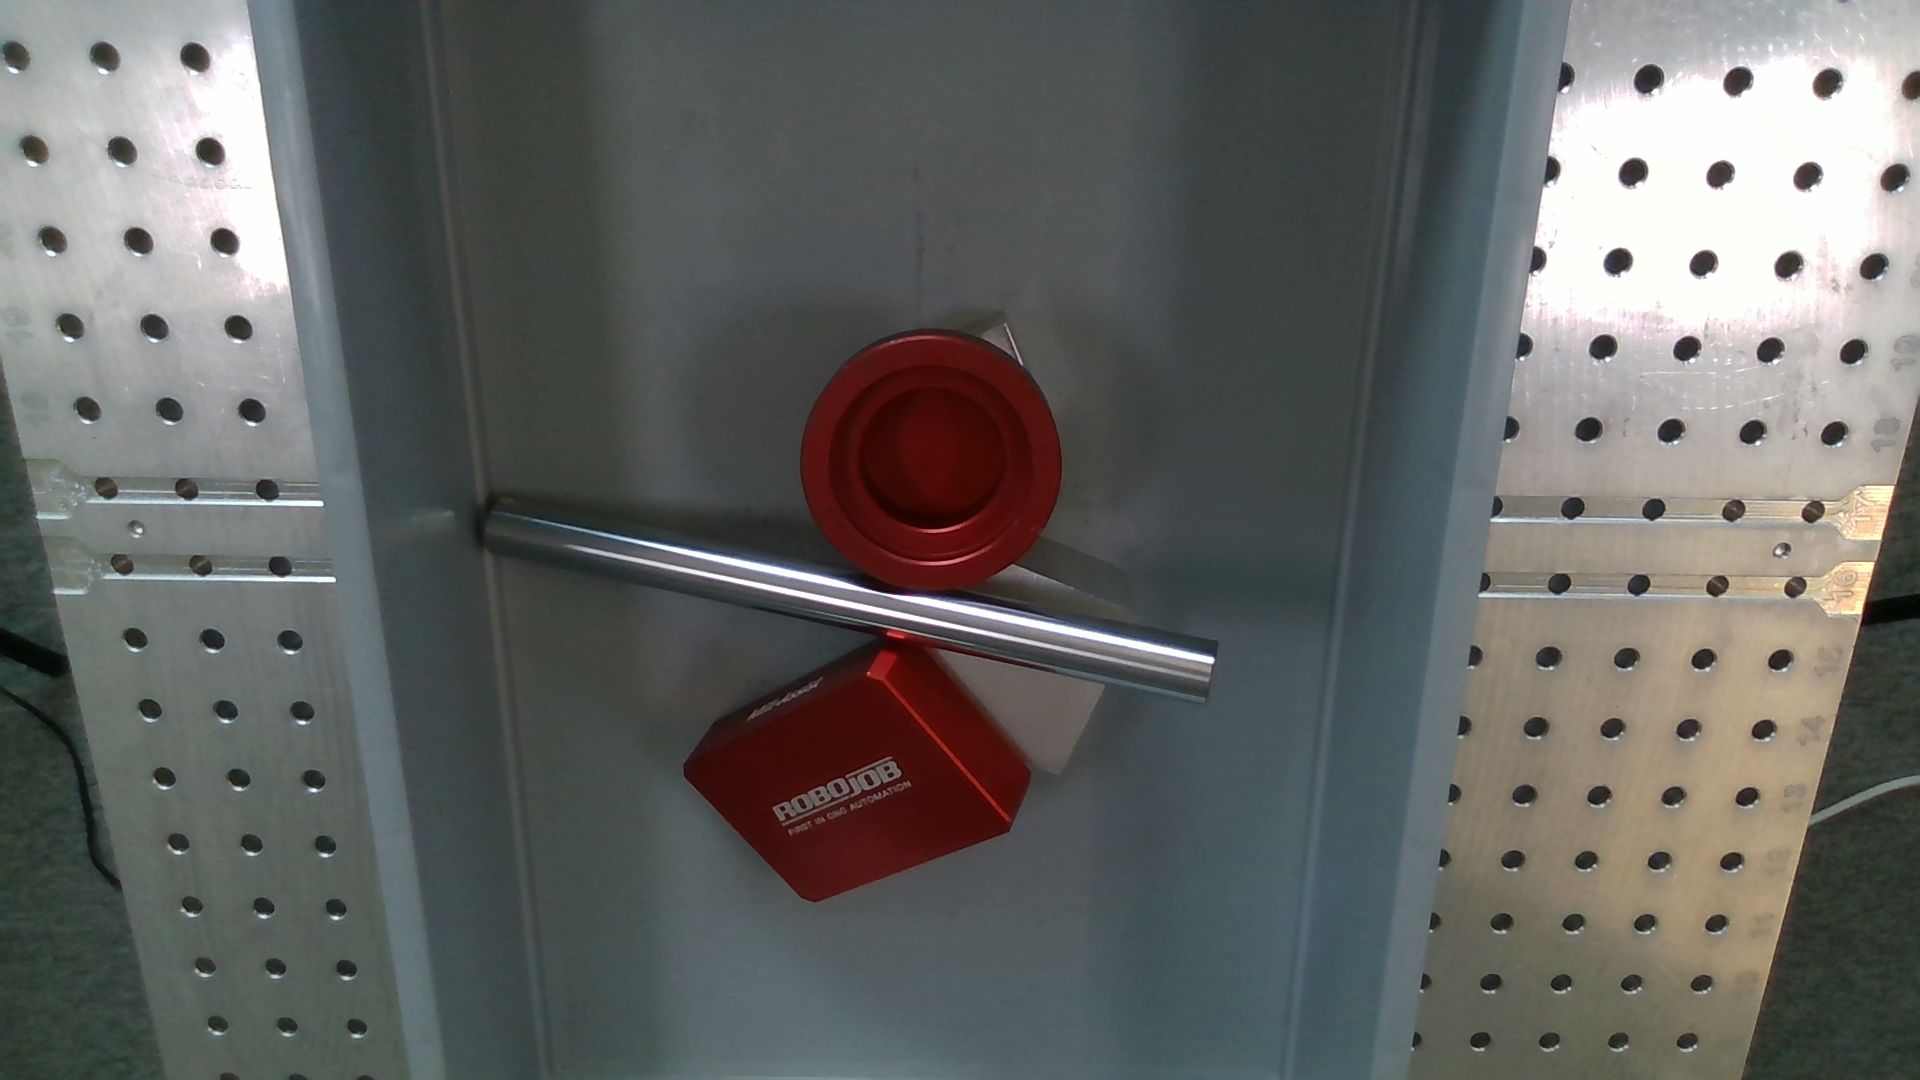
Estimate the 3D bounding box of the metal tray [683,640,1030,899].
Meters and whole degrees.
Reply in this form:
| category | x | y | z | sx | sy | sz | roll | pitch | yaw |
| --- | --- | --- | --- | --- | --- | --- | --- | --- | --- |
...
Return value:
| category | x | y | z | sx | sy | sz | roll | pitch | yaw |
| --- | --- | --- | --- | --- | --- | --- | --- | --- | --- |
| metal tray | -0.046 | 0.100 | 0.591 | 0.130 | 0.030 | 0.090 | -29 | 109 | 36 |

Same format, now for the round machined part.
| category | x | y | z | sx | sy | sz | roll | pitch | yaw |
| --- | --- | --- | --- | --- | --- | --- | --- | --- | --- |
| round machined part | -0.011 | -0.034 | 0.533 | 0.098 | 0.042 | 0.098 | 0 | 107 | 1 |

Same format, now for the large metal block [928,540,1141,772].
| category | x | y | z | sx | sy | sz | roll | pitch | yaw |
| --- | --- | --- | --- | --- | --- | --- | --- | --- | --- |
| large metal block | 0.021 | 0.040 | 0.586 | 0.080 | 0.050 | 0.080 | 21 | 109 | -8 |

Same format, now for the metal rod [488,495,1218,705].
| category | x | y | z | sx | sy | sz | roll | pitch | yaw |
| --- | --- | --- | --- | --- | --- | --- | --- | --- | --- |
| metal rod | -0.049 | 0.021 | 0.549 | 0.300 | 0.025 | 0.025 | 11 | 111 | 13 |

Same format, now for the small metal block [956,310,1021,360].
| category | x | y | z | sx | sy | sz | roll | pitch | yaw |
| --- | --- | --- | --- | --- | --- | --- | --- | --- | --- |
| small metal block | 0.004 | -0.060 | 0.562 | 0.050 | 0.025 | 0.050 | -21 | 109 | 8 |
